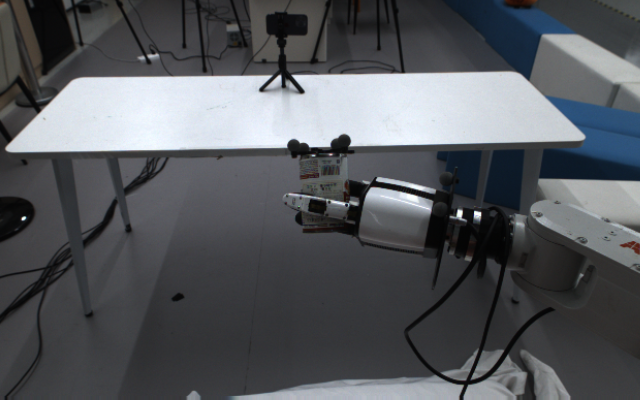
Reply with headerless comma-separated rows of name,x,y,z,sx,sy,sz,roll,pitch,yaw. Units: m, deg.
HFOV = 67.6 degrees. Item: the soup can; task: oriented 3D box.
soup can,0.008,-0.008,0.647,0.067,0.101,0.067,-3,-1,0
